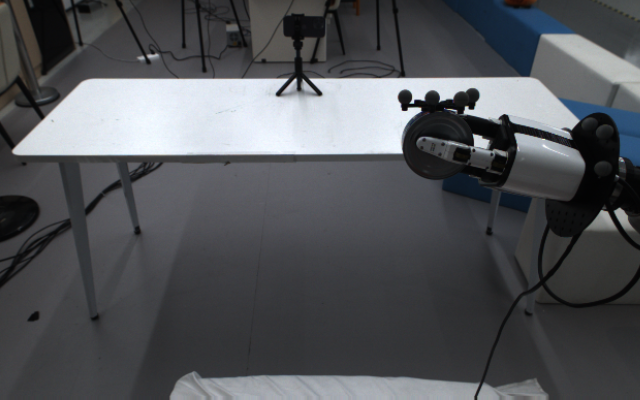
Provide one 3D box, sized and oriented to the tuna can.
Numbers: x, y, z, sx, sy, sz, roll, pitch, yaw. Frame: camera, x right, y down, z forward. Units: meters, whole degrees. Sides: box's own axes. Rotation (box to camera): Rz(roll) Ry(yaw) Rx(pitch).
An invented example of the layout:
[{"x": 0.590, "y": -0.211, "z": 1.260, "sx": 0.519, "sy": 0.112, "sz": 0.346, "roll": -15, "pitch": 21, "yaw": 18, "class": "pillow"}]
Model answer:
[{"x": 0.147, "y": -0.072, "z": 0.608, "sx": 0.085, "sy": 0.085, "sz": 0.034, "roll": 4, "pitch": 18, "yaw": 3, "class": "tuna can"}]
